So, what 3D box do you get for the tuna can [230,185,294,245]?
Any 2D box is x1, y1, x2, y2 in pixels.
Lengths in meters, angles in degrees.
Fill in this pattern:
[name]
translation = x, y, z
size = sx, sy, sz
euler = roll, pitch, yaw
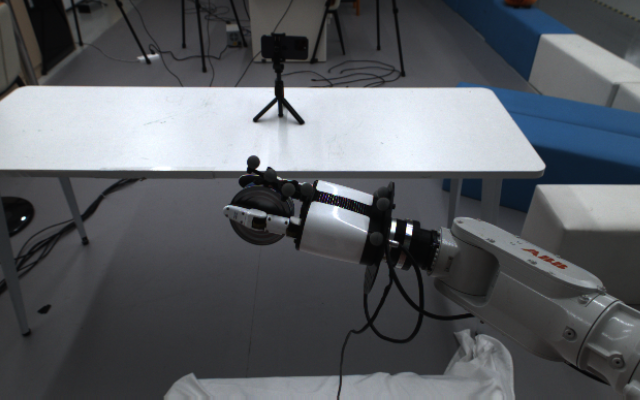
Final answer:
[tuna can]
translation = -0.077, 0.016, 0.663
size = 0.085, 0.085, 0.034
euler = 7, 17, 7
